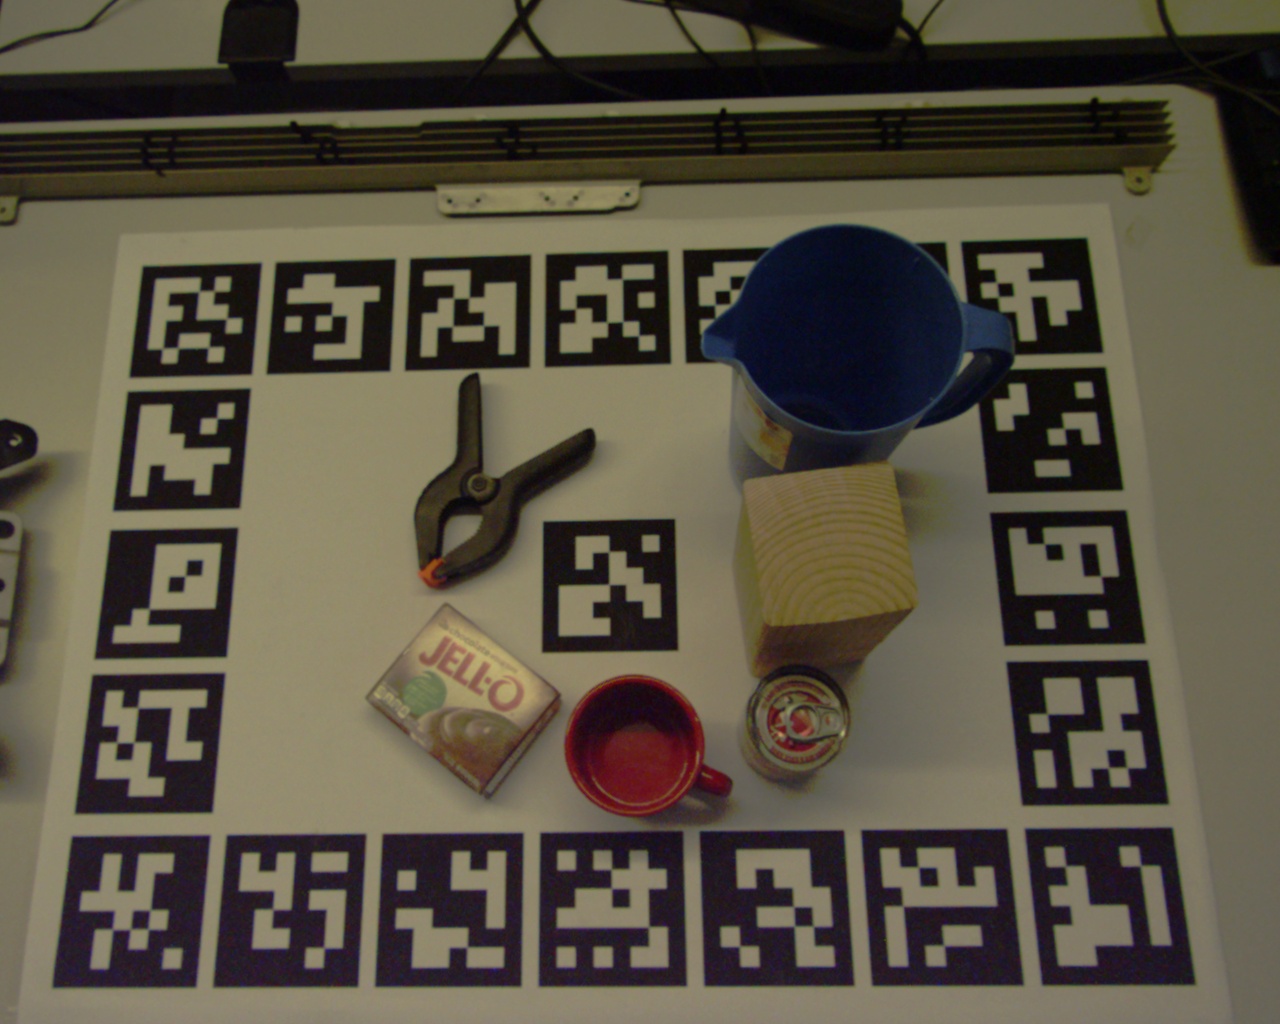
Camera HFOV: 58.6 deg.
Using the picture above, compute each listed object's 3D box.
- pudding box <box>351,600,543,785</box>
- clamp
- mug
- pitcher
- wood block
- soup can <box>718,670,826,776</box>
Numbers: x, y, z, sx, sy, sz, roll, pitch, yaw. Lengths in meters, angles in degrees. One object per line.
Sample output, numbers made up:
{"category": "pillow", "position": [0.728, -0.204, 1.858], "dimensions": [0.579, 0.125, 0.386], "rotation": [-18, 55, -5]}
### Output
{"category": "pudding box", "position": [-0.144, 0.135, 0.854], "dimensions": [0.114, 0.038, 0.090], "rotation": [36, 81, 13]}
{"category": "clamp", "position": [-0.122, -0.018, 0.905], "dimensions": [0.122, 0.036, 0.165], "rotation": [29, 77, 4]}
{"category": "mug", "position": [-0.003, 0.173, 0.809], "dimensions": [0.118, 0.081, 0.093], "rotation": [35, 75, 13]}
{"category": "pitcher", "position": [0.130, -0.072, 0.794], "dimensions": [0.189, 0.241, 0.133], "rotation": [-2, 71, 5]}
{"category": "wood block", "position": [0.106, 0.049, 0.775], "dimensions": [0.090, 0.206, 0.091], "rotation": [-2, 73, -2]}
{"category": "soup can", "position": [0.090, 0.150, 0.799], "dimensions": [0.068, 0.102, 0.068], "rotation": [-1, 76, 2]}
